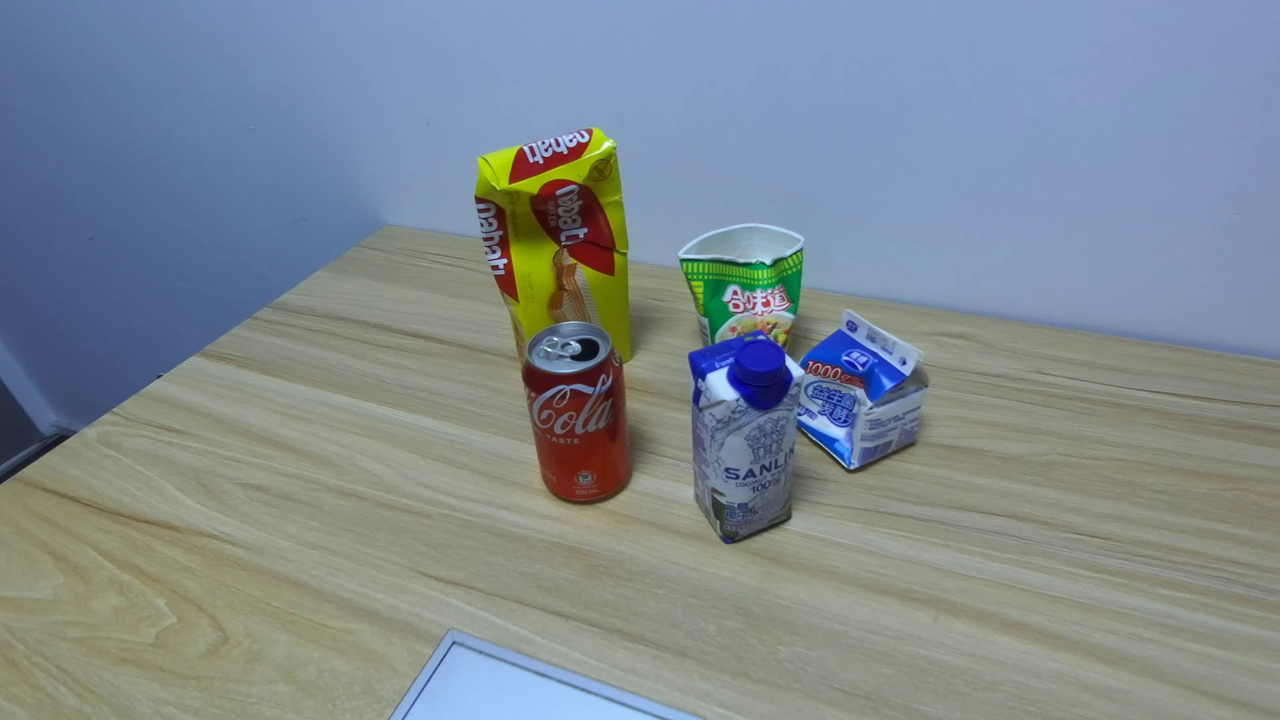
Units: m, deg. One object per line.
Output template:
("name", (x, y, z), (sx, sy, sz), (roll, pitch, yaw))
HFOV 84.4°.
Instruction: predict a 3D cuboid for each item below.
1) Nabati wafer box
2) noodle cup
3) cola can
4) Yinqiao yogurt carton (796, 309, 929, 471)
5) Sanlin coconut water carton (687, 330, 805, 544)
("Nabati wafer box", (-0.063, -0.072, 0.557), (0.107, 0.205, 0.042), (-19, 41, -19))
("noodle cup", (0.089, -0.044, 0.583), (0.082, 0.122, 0.075), (8, 30, 31))
("cola can", (-0.042, 0.037, 0.484), (0.068, 0.120, 0.067), (-1, 38, 1))
("Yinqiao yogurt carton", (0.162, 0.017, 0.512), (0.071, 0.094, 0.077), (-17, 39, -26))
("Sanlin coconut water carton", (0.065, 0.045, 0.441), (0.061, 0.144, 0.060), (-19, 39, -17))
